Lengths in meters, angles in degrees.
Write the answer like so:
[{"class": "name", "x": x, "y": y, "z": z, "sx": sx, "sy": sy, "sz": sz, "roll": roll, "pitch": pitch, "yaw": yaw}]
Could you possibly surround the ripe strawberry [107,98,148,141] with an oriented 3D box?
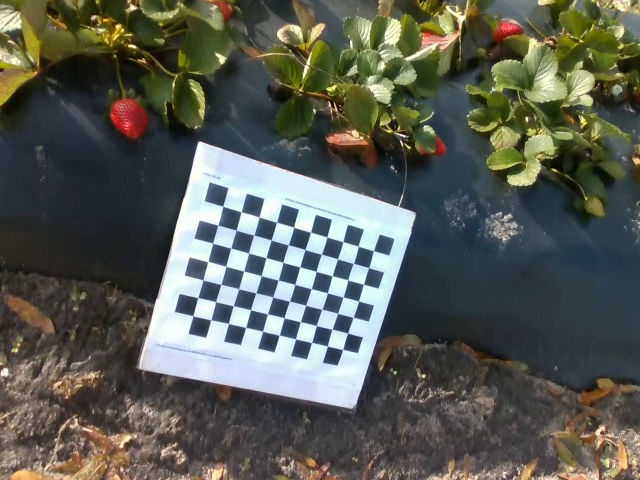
[{"class": "ripe strawberry", "x": -0.167, "y": -0.107, "z": 0.697, "sx": 0.041, "sy": 0.047, "sz": 0.041, "roll": -13, "pitch": -43, "yaw": -9}]
